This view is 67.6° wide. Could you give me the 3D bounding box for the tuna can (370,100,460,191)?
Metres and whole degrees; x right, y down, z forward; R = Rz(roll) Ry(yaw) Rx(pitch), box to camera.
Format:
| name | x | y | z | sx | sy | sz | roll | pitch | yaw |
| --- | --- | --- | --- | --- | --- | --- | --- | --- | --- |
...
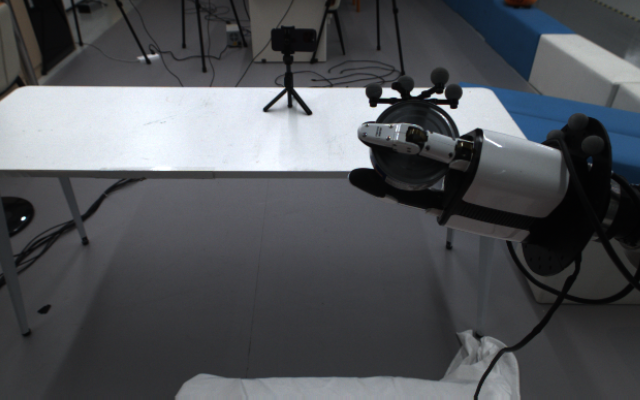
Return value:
| name | x | y | z | sx | sy | sz | roll | pitch | yaw |
| --- | --- | --- | --- | --- | --- | --- | --- | --- | --- |
| tuna can | 0.093 | -0.054 | 0.482 | 0.085 | 0.034 | 0.085 | -1 | 77 | 4 |
